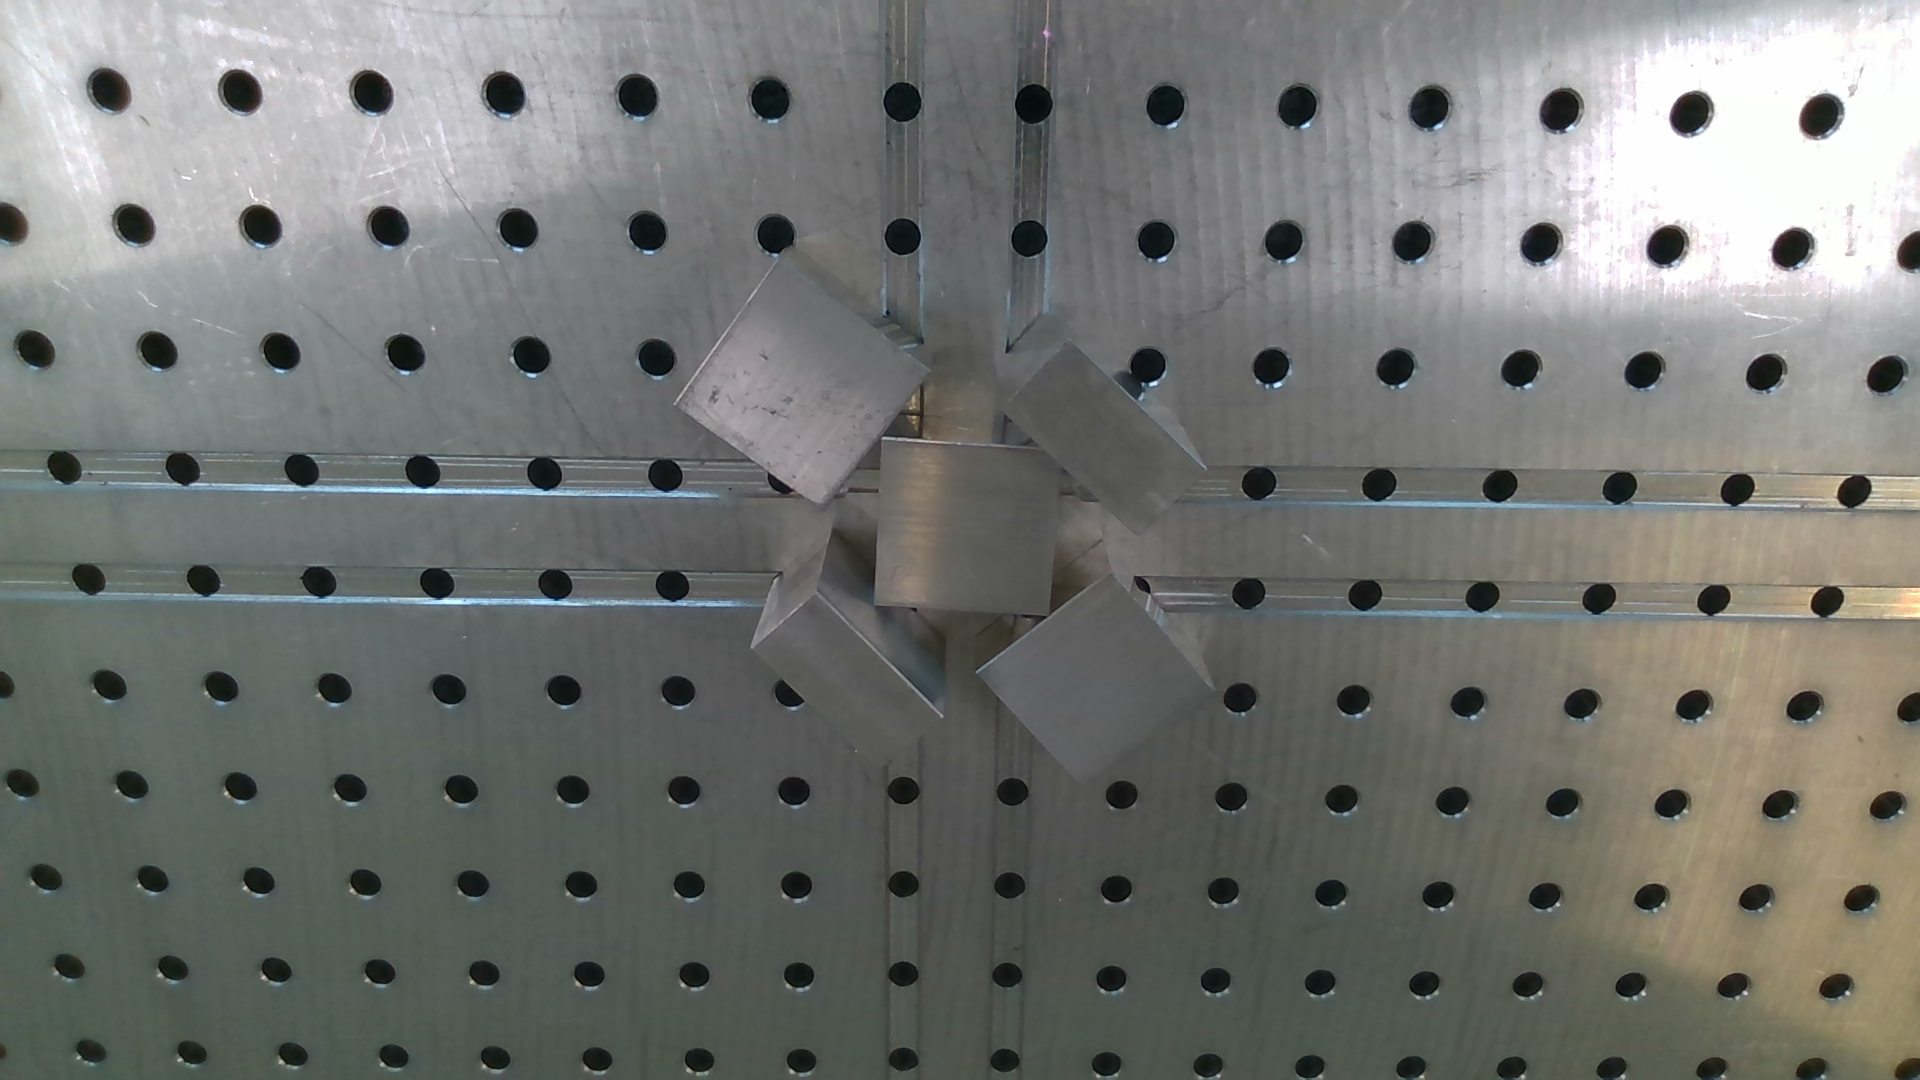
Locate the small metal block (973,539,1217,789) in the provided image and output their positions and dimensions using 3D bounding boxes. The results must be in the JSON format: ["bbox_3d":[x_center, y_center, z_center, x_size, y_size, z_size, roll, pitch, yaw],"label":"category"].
[{"bbox_3d":[0.039,0.037,0.409,0.050,0.025,0.050,-38,105,13],"label":"small metal block"}]

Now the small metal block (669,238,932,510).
[{"bbox_3d":[-0.043,-0.046,0.379,0.050,0.025,0.050,36,107,-13],"label":"small metal block"}]

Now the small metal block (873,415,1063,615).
[{"bbox_3d":[0.002,-0.008,0.392,0.050,0.025,0.050,3,109,-2],"label":"small metal block"}]

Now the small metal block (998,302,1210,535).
[{"bbox_3d":[0.037,-0.035,0.369,0.050,0.050,0.025,42,105,-13],"label":"small metal block"}]

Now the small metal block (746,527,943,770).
[{"bbox_3d":[-0.031,0.030,0.393,0.025,0.050,0.050,-41,105,13],"label":"small metal block"}]
